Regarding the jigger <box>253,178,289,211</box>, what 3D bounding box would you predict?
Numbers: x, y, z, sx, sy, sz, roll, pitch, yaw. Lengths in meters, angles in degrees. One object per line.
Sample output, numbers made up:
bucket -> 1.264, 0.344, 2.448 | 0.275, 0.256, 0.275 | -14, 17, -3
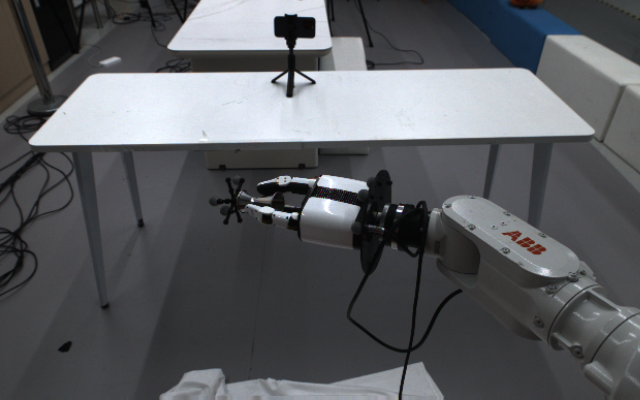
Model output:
jigger -> -0.090, -0.001, 0.794 | 0.071, 0.043, 0.043 | 4, 33, 24
